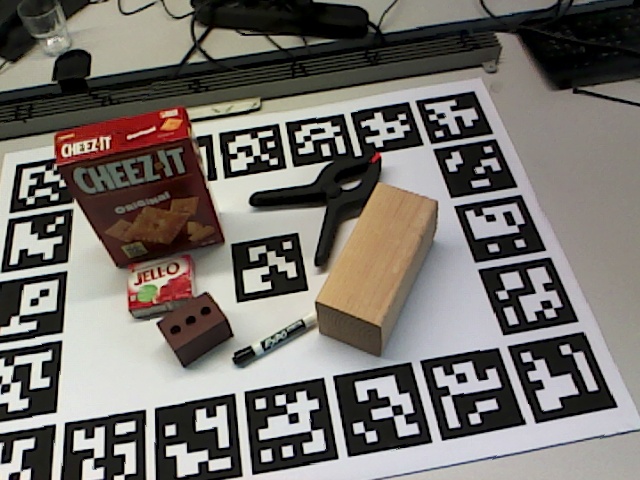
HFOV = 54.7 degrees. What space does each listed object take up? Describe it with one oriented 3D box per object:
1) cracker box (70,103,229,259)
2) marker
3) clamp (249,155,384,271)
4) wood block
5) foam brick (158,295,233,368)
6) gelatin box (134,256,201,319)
[{"bbox_3d":[-0.223,-0.072,0.845,0.164,0.213,0.072,-12,56,-5],"label":"cracker box"},{"bbox_3d":[-0.070,0.138,0.812,0.121,0.019,0.020,-27,60,-12],"label":"marker"},{"bbox_3d":[0.019,-0.063,0.927,0.202,0.036,0.166,-36,62,-17],"label":"clamp"},{"bbox_3d":[0.078,0.041,0.826,0.090,0.090,0.206,19,58,20],"label":"wood block"},{"bbox_3d":[-0.164,0.120,0.815,0.078,0.051,0.053,-31,61,-14],"label":"foam brick"},{"bbox_3d":[-0.215,0.067,0.871,0.089,0.030,0.073,-10,58,-2],"label":"gelatin box"}]
